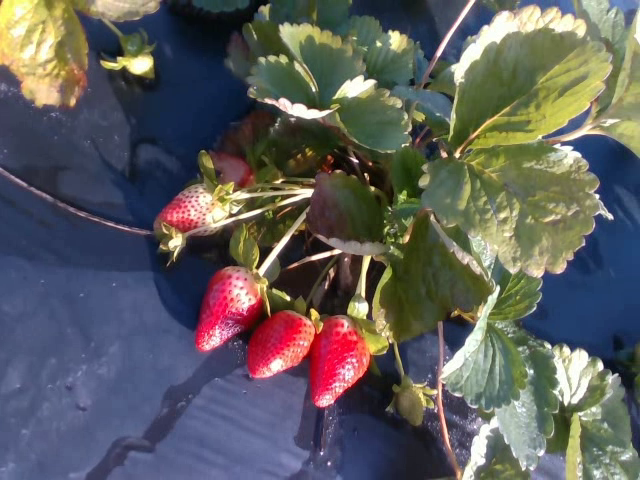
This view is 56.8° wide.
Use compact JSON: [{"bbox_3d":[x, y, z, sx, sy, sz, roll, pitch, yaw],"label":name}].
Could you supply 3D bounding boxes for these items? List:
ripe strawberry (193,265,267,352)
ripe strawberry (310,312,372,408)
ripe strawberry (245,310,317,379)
[{"bbox_3d":[-0.044,0.033,0.274,0.031,0.046,0.023,33,-9,-5],"label":"ripe strawberry"},{"bbox_3d":[0.005,0.063,0.276,0.035,0.041,0.034,29,-44,-4],"label":"ripe strawberry"},{"bbox_3d":[-0.019,0.048,0.269,0.036,0.030,0.039,-43,7,31],"label":"ripe strawberry"}]
